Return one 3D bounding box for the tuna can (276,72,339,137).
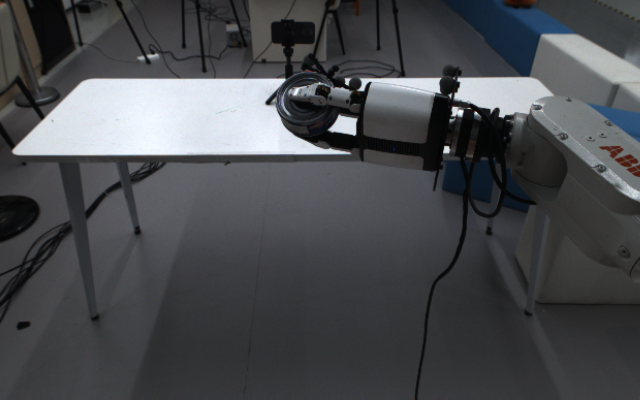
[{"bbox_3d":[-0.016,-0.134,0.665,0.085,0.034,0.085,-4,69,10],"label":"tuna can"}]
